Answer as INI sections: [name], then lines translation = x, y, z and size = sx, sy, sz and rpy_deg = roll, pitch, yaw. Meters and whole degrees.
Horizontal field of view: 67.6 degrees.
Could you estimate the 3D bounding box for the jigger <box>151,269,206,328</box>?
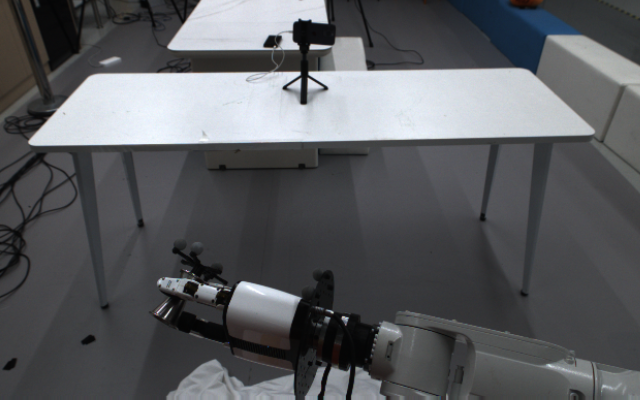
[jigger]
translation = -0.188, 0.128, 0.638
size = 0.043, 0.043, 0.071
rpy_deg = 19, 62, 23
